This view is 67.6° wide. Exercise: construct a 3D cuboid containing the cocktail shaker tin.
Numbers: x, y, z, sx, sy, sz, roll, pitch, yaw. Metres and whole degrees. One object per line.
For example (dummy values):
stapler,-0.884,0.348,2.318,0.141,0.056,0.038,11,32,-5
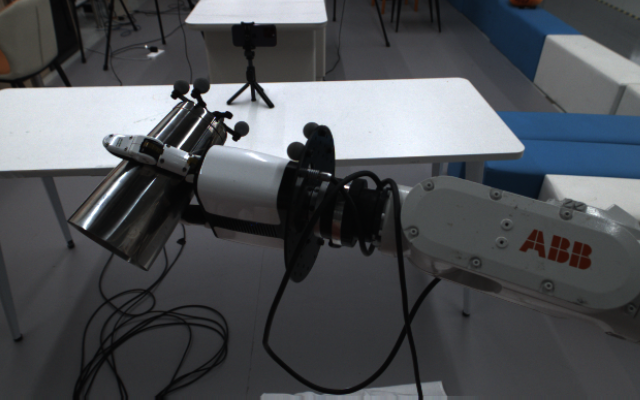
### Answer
cocktail shaker tin,-0.170,-0.023,0.513,0.093,0.093,0.170,19,67,23
